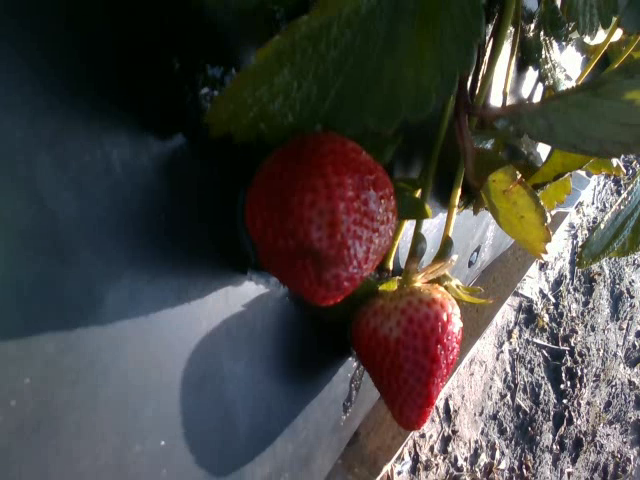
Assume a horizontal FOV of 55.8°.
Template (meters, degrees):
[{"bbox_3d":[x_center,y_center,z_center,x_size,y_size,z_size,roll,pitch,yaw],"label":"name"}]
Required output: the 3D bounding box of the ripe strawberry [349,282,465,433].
[{"bbox_3d":[0.033,0.039,0.198,0.039,0.053,0.043,-7,-10,15],"label":"ripe strawberry"}]

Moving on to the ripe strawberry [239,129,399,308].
[{"bbox_3d":[0.002,-0.004,0.153,0.039,0.048,0.054,23,28,-3],"label":"ripe strawberry"}]
